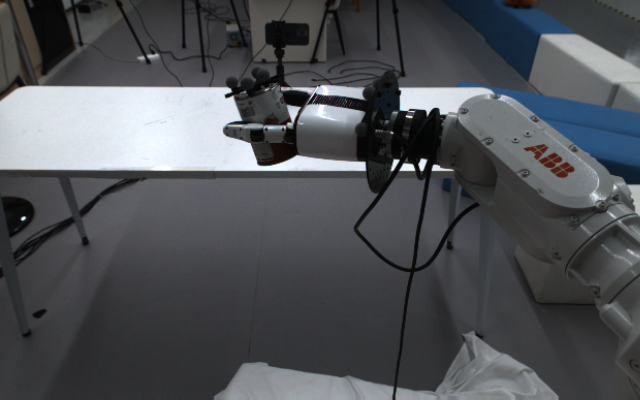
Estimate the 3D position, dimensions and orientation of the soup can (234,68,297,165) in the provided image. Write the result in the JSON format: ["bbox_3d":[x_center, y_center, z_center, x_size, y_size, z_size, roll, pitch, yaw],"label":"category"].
[{"bbox_3d":[-0.073,-0.107,0.683,0.067,0.101,0.067,-16,23,7],"label":"soup can"}]
